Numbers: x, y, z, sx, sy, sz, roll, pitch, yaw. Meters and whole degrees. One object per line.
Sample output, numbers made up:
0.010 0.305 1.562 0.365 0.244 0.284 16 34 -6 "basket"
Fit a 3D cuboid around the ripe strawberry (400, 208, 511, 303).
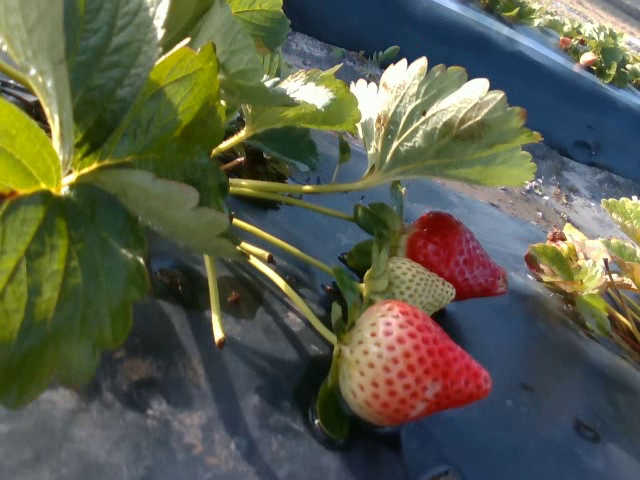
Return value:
0.066 0.012 0.290 0.064 0.049 0.050 33 -21 -7 "ripe strawberry"
